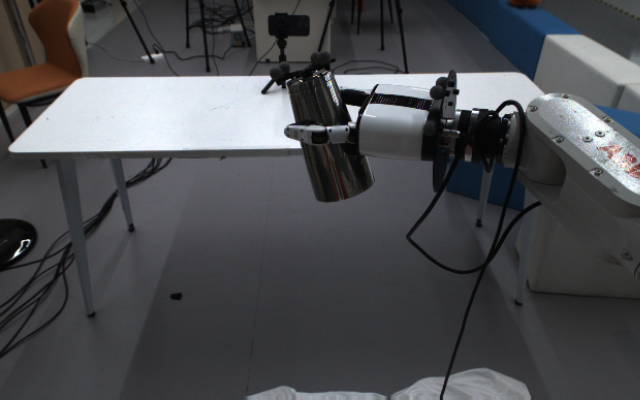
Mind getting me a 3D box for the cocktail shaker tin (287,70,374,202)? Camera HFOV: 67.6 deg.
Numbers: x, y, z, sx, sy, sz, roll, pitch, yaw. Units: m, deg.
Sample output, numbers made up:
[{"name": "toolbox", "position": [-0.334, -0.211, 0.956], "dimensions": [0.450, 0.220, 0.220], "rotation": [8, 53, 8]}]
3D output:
[{"name": "cocktail shaker tin", "position": [0.011, -0.093, 0.686], "dimensions": [0.093, 0.170, 0.093], "rotation": [-17, 20, 7]}]
